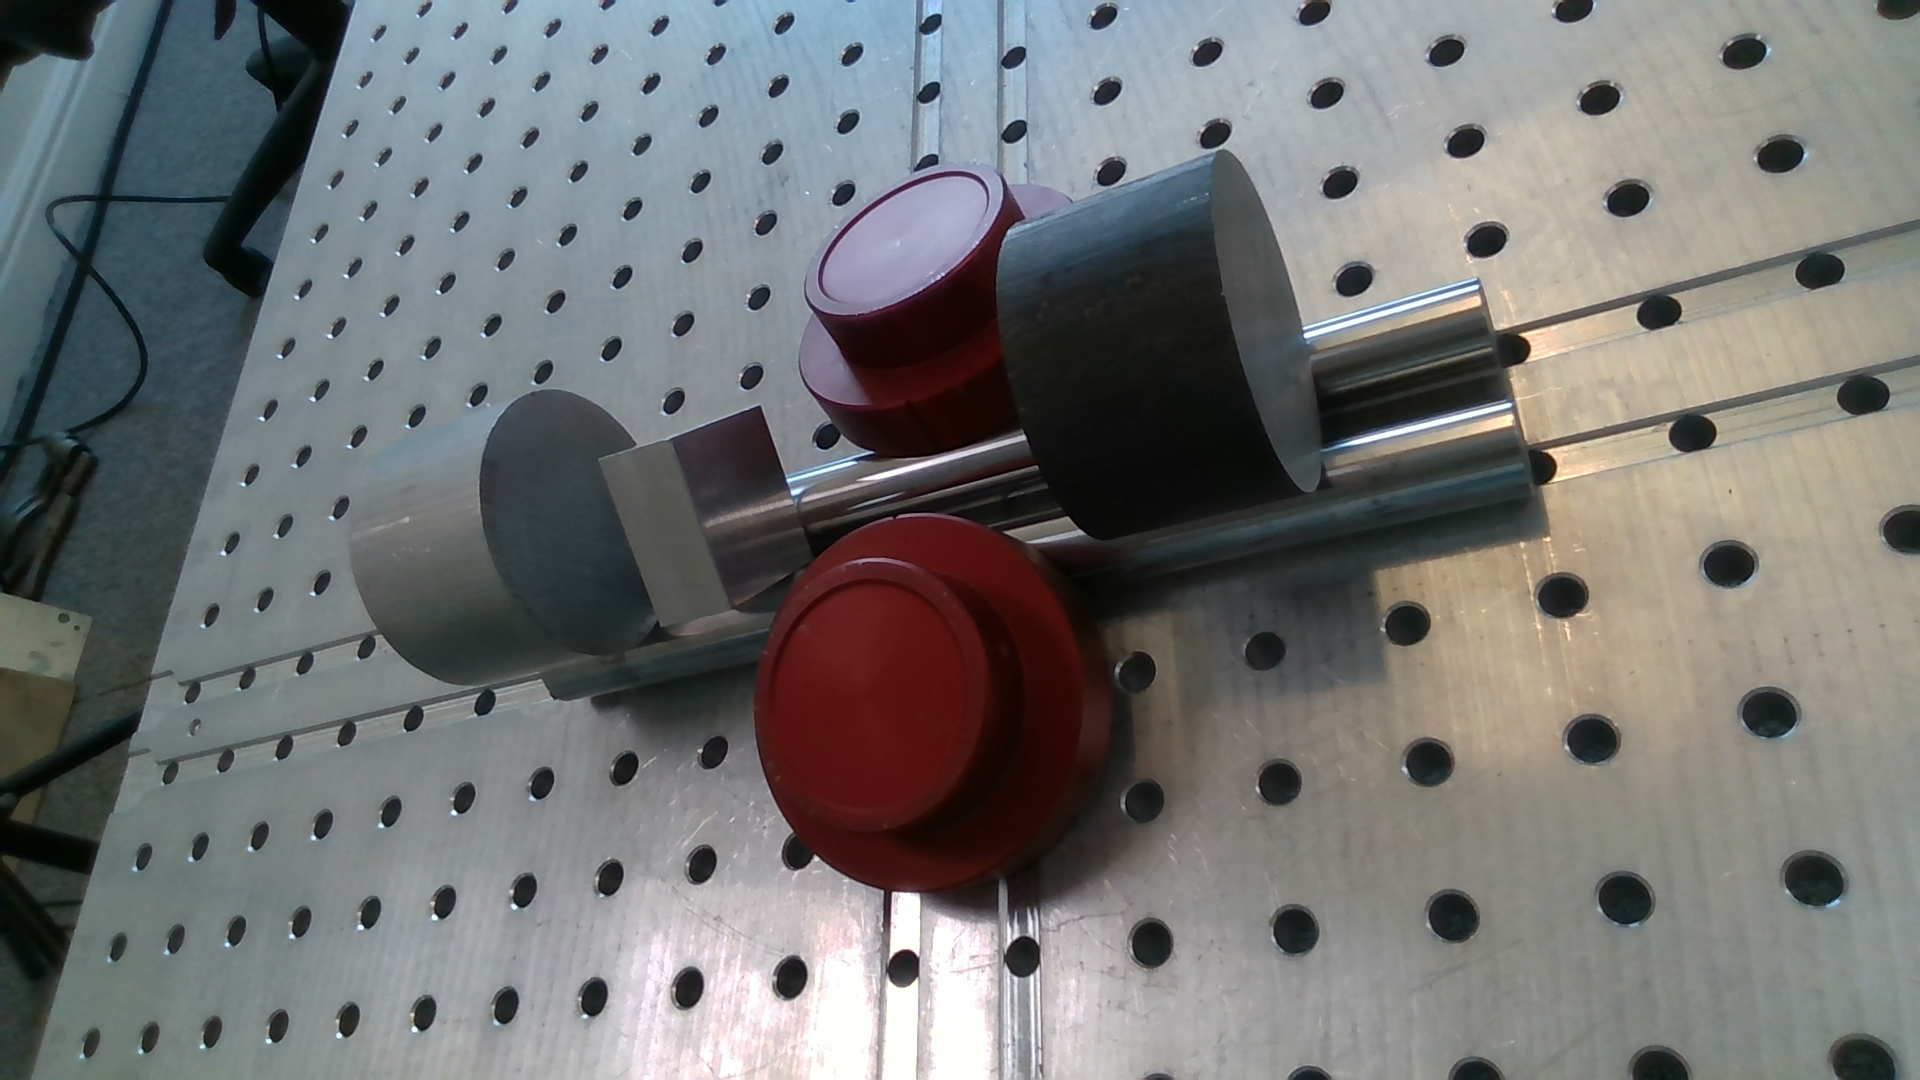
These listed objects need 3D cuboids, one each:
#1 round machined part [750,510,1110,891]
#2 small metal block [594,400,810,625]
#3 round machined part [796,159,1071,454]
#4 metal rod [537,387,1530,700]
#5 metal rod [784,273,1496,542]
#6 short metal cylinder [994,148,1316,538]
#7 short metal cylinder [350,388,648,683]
[{"bbox_3d":[-0.014,0.040,0.355,0.098,0.042,0.098,-6,78,27],"label":"round machined part"},{"bbox_3d":[-0.073,-0.009,0.399,0.025,0.050,0.050,-13,101,25],"label":"small metal block"},{"bbox_3d":[-0.008,-0.076,0.414,0.098,0.042,0.098,-20,43,19],"label":"round machined part"},{"bbox_3d":[0.000,0.008,0.390,0.300,0.025,0.025,-14,59,25],"label":"metal rod"},{"bbox_3d":[-0.001,-0.022,0.407,0.300,0.025,0.025,-14,59,25],"label":"metal rod"},{"bbox_3d":[0.049,-0.045,0.326,0.050,0.080,0.080,-14,59,25],"label":"short metal cylinder"},{"bbox_3d":[-0.132,0.000,0.414,0.050,0.080,0.080,-14,59,25],"label":"short metal cylinder"}]
